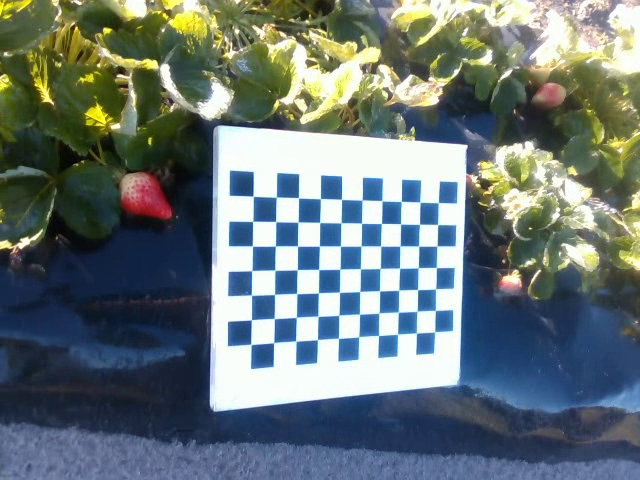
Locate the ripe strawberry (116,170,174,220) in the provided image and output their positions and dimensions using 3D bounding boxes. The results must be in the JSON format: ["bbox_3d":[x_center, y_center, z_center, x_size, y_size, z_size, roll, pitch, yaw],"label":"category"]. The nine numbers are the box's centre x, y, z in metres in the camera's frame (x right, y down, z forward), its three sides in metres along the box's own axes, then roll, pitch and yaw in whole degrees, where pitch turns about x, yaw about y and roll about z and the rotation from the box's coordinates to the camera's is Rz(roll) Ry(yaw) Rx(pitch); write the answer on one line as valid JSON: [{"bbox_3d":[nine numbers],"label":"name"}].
[{"bbox_3d":[-0.174,-0.038,0.606,0.065,0.040,0.040,44,-18,-18],"label":"ripe strawberry"}]
